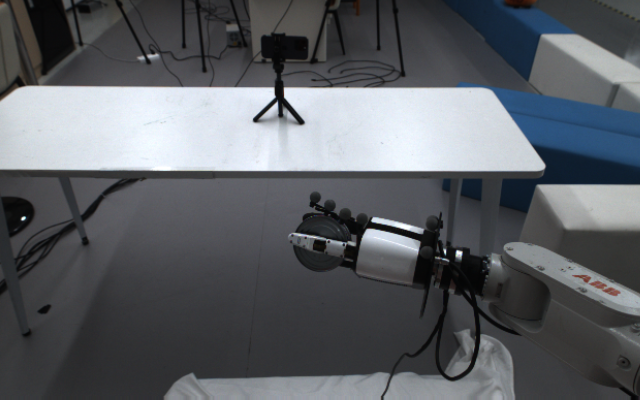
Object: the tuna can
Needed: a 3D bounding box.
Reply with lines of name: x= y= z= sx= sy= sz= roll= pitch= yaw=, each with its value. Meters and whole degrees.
tuna can: x=0.006 y=0.064 z=0.735 sx=0.085 sy=0.085 sz=0.034 roll=14 pitch=2 yaw=16
